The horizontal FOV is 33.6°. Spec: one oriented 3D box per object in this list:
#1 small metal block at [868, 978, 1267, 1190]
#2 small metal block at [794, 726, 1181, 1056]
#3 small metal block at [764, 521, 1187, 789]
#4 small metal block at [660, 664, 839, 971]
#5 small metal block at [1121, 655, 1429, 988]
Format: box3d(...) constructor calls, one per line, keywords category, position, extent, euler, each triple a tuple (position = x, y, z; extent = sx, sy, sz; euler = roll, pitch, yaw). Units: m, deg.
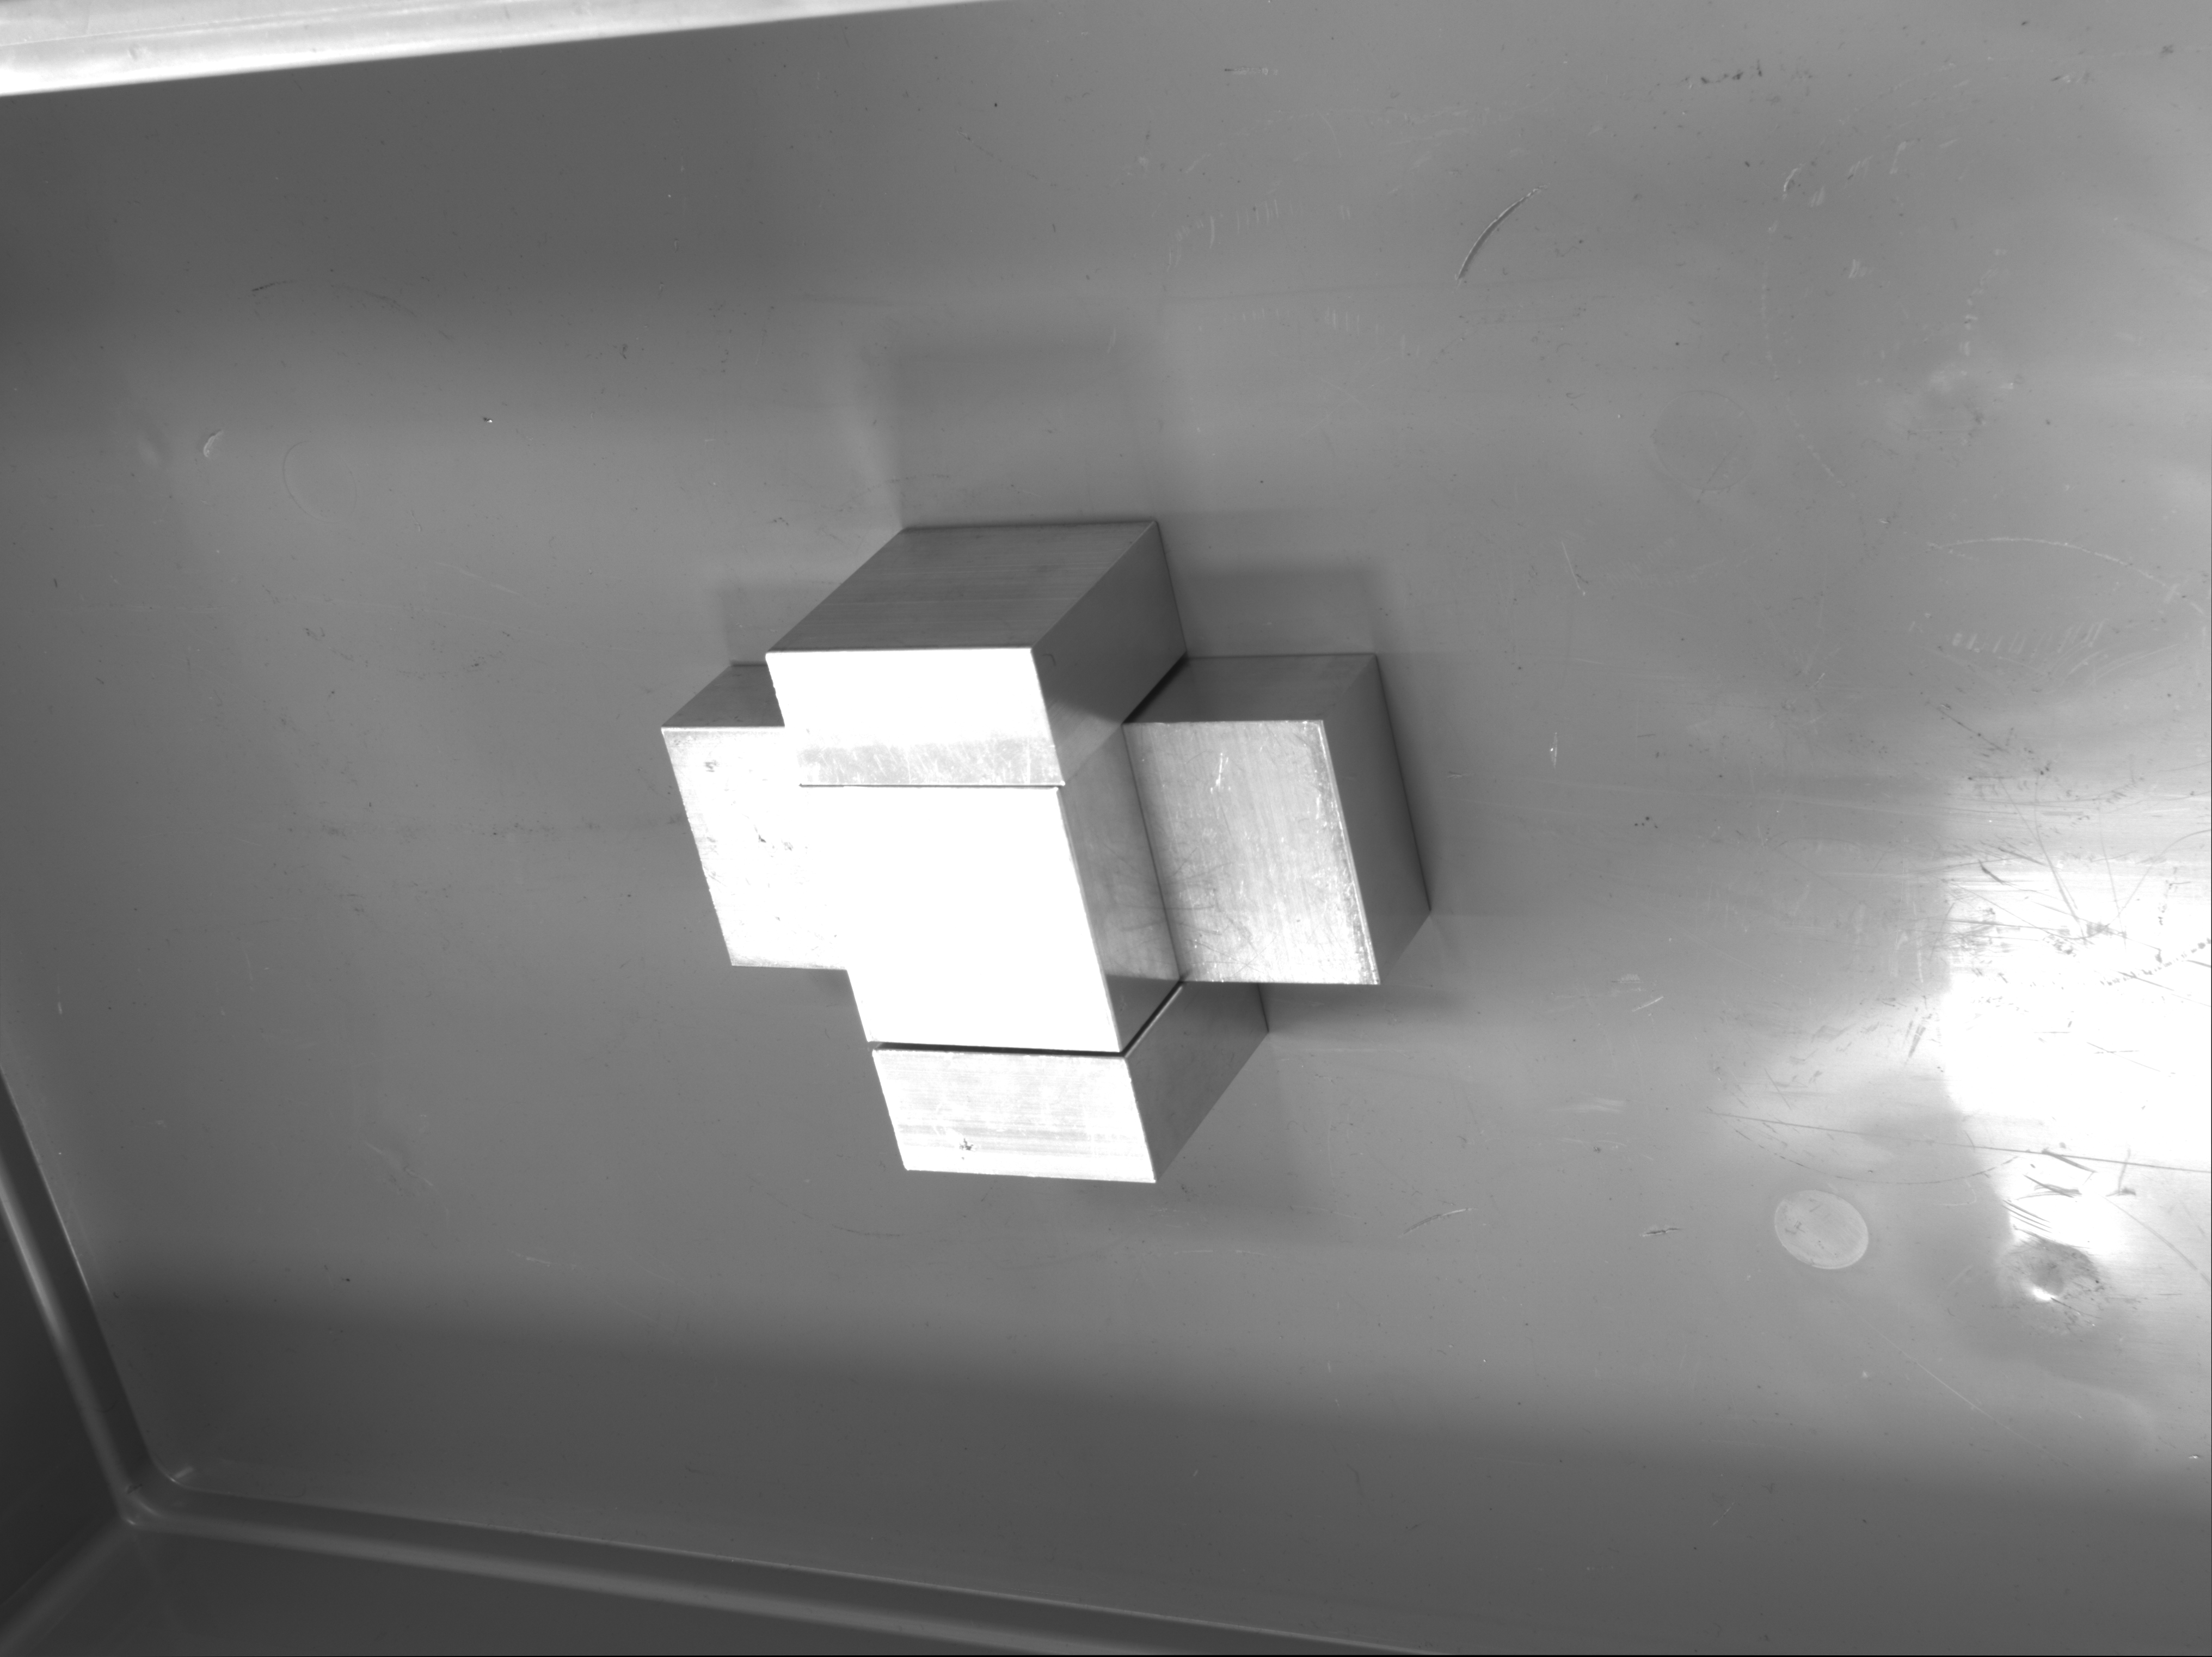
box3d(category="small metal block", position=(-0.006, 0.039, 0.650), extent=(0.050, 0.050, 0.025), euler=(1, 118, 28))
box3d(category="small metal block", position=(-0.020, 0.010, 0.624), extent=(0.050, 0.025, 0.050), euler=(1, 119, 28))
box3d(category="small metal block", position=(-0.021, -0.029, 0.617), extent=(0.050, 0.050, 0.025), euler=(1, 118, 28))
box3d(category="small metal block", position=(-0.047, -0.002, 0.664), extent=(0.050, 0.025, 0.050), euler=(1, 119, 28))
box3d(category="small metal block", position=(0.023, -0.001, 0.627), extent=(0.050, 0.025, 0.050), euler=(1, 119, 28))
